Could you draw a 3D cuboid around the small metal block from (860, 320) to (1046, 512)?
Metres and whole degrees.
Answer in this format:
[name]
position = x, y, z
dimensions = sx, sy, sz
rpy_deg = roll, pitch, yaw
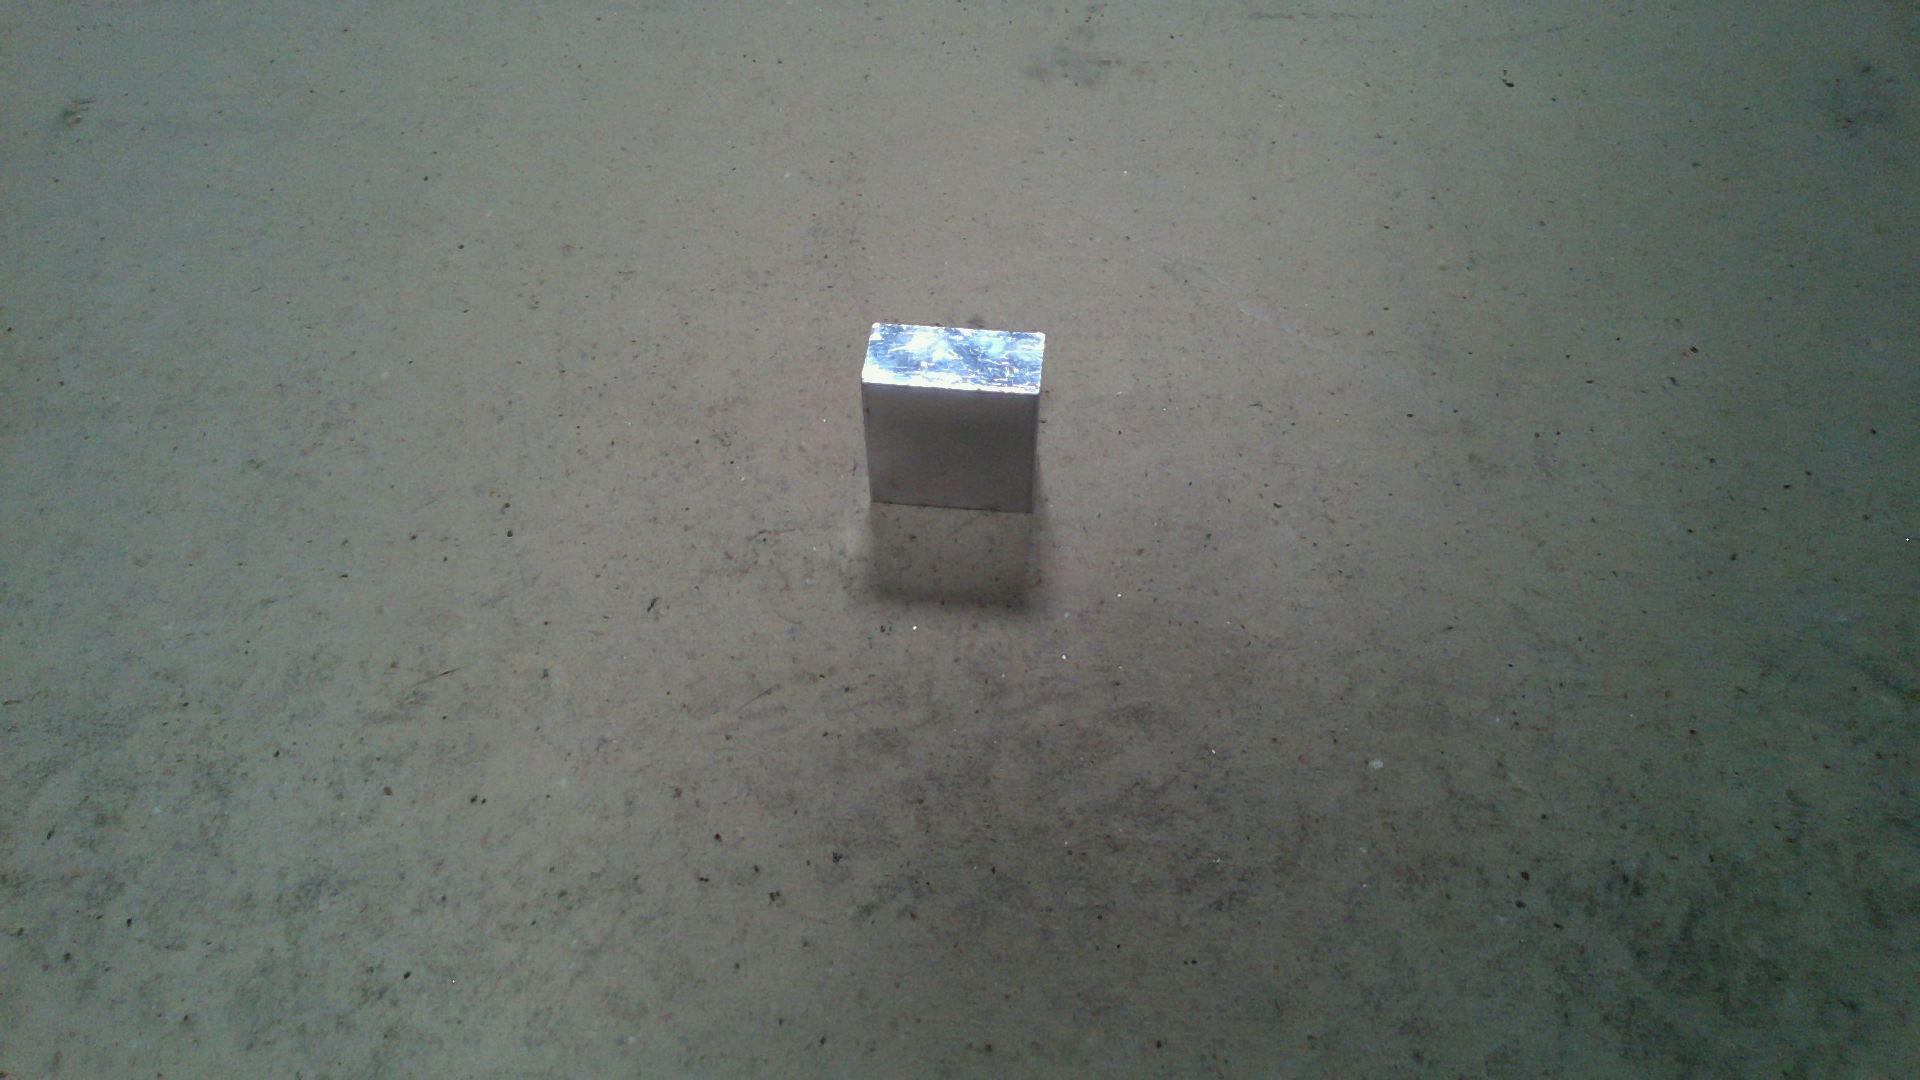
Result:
[small metal block]
position = -0.001, -0.036, 0.405
dimensions = 0.050, 0.050, 0.025
rpy_deg = 4, 50, 4
